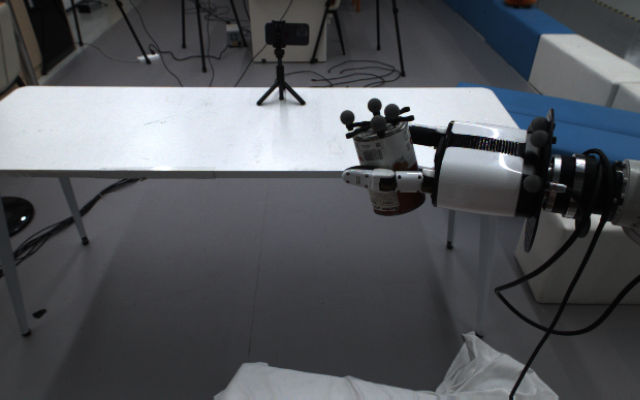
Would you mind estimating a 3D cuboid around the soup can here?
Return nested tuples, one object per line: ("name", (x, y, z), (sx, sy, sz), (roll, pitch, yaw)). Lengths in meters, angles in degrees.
("soup can", (0.085, -0.042, 0.583), (0.067, 0.101, 0.067), (-16, 23, 7))
